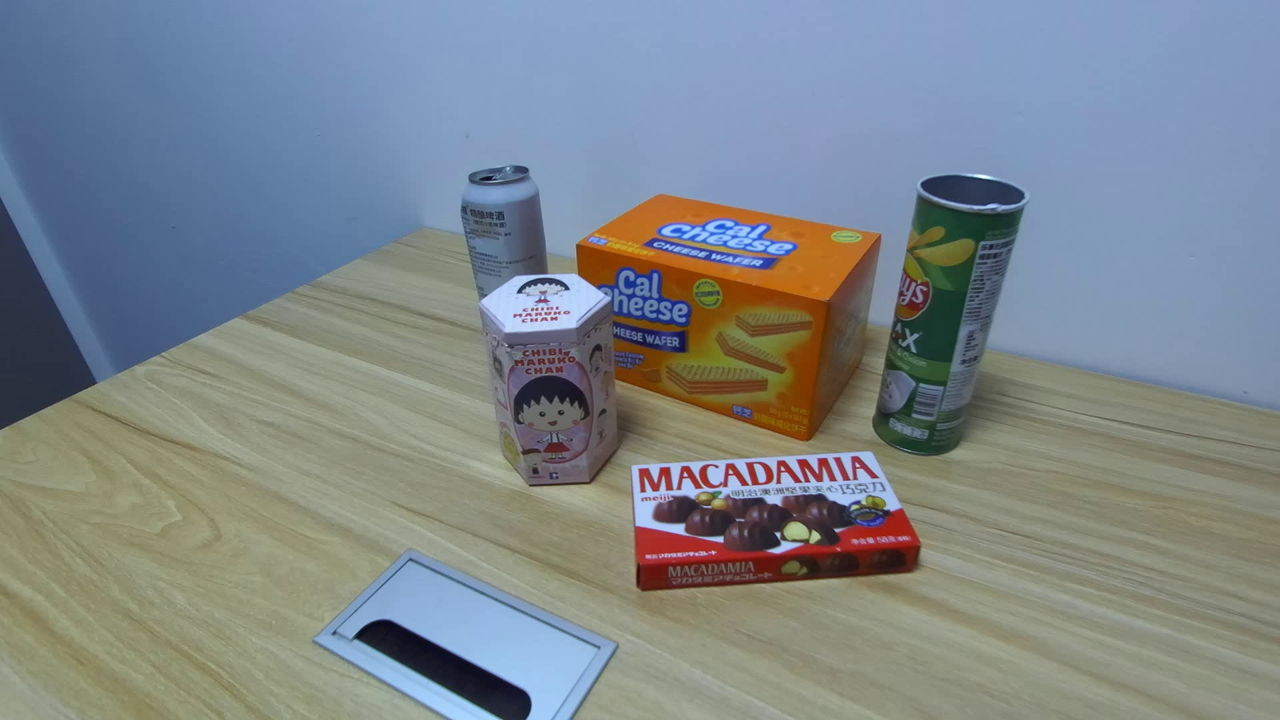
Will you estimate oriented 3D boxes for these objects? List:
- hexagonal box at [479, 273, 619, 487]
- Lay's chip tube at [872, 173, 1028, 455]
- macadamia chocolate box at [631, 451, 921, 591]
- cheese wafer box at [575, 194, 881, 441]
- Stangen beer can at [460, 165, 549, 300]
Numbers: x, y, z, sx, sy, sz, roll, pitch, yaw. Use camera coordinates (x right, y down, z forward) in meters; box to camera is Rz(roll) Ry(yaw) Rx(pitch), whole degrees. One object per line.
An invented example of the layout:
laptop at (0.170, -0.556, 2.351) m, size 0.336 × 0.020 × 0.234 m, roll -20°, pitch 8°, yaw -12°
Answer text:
hexagonal box at (-0.063, 0.015, 0.520) m, size 0.091 × 0.136 × 0.083 m, roll -3°, pitch 32°, yaw -1°
Lay's chip tube at (0.223, -0.029, 0.519) m, size 0.071 × 0.203 × 0.071 m, roll -2°, pitch 32°, yaw 1°
macadamia chocolate box at (0.084, 0.105, 0.477) m, size 0.178 × 0.027 × 0.095 m, roll -3°, pitch 31°, yaw -1°
cheese wafer box at (0.078, -0.048, 0.625) m, size 0.221 × 0.129 × 0.148 m, roll 17°, pitch 37°, yaw 26°
Stangen beer can at (-0.121, -0.095, 0.663) m, size 0.070 × 0.173 × 0.069 m, roll 6°, pitch 31°, yaw 14°
